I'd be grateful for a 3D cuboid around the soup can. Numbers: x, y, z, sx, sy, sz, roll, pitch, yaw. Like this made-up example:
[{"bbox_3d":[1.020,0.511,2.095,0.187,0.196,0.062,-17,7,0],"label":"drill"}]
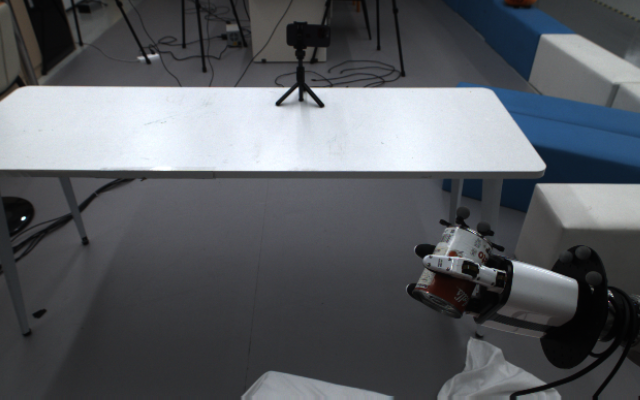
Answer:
[{"bbox_3d":[0.175,0.091,0.628,0.067,0.067,0.101,22,72,26],"label":"soup can"}]
